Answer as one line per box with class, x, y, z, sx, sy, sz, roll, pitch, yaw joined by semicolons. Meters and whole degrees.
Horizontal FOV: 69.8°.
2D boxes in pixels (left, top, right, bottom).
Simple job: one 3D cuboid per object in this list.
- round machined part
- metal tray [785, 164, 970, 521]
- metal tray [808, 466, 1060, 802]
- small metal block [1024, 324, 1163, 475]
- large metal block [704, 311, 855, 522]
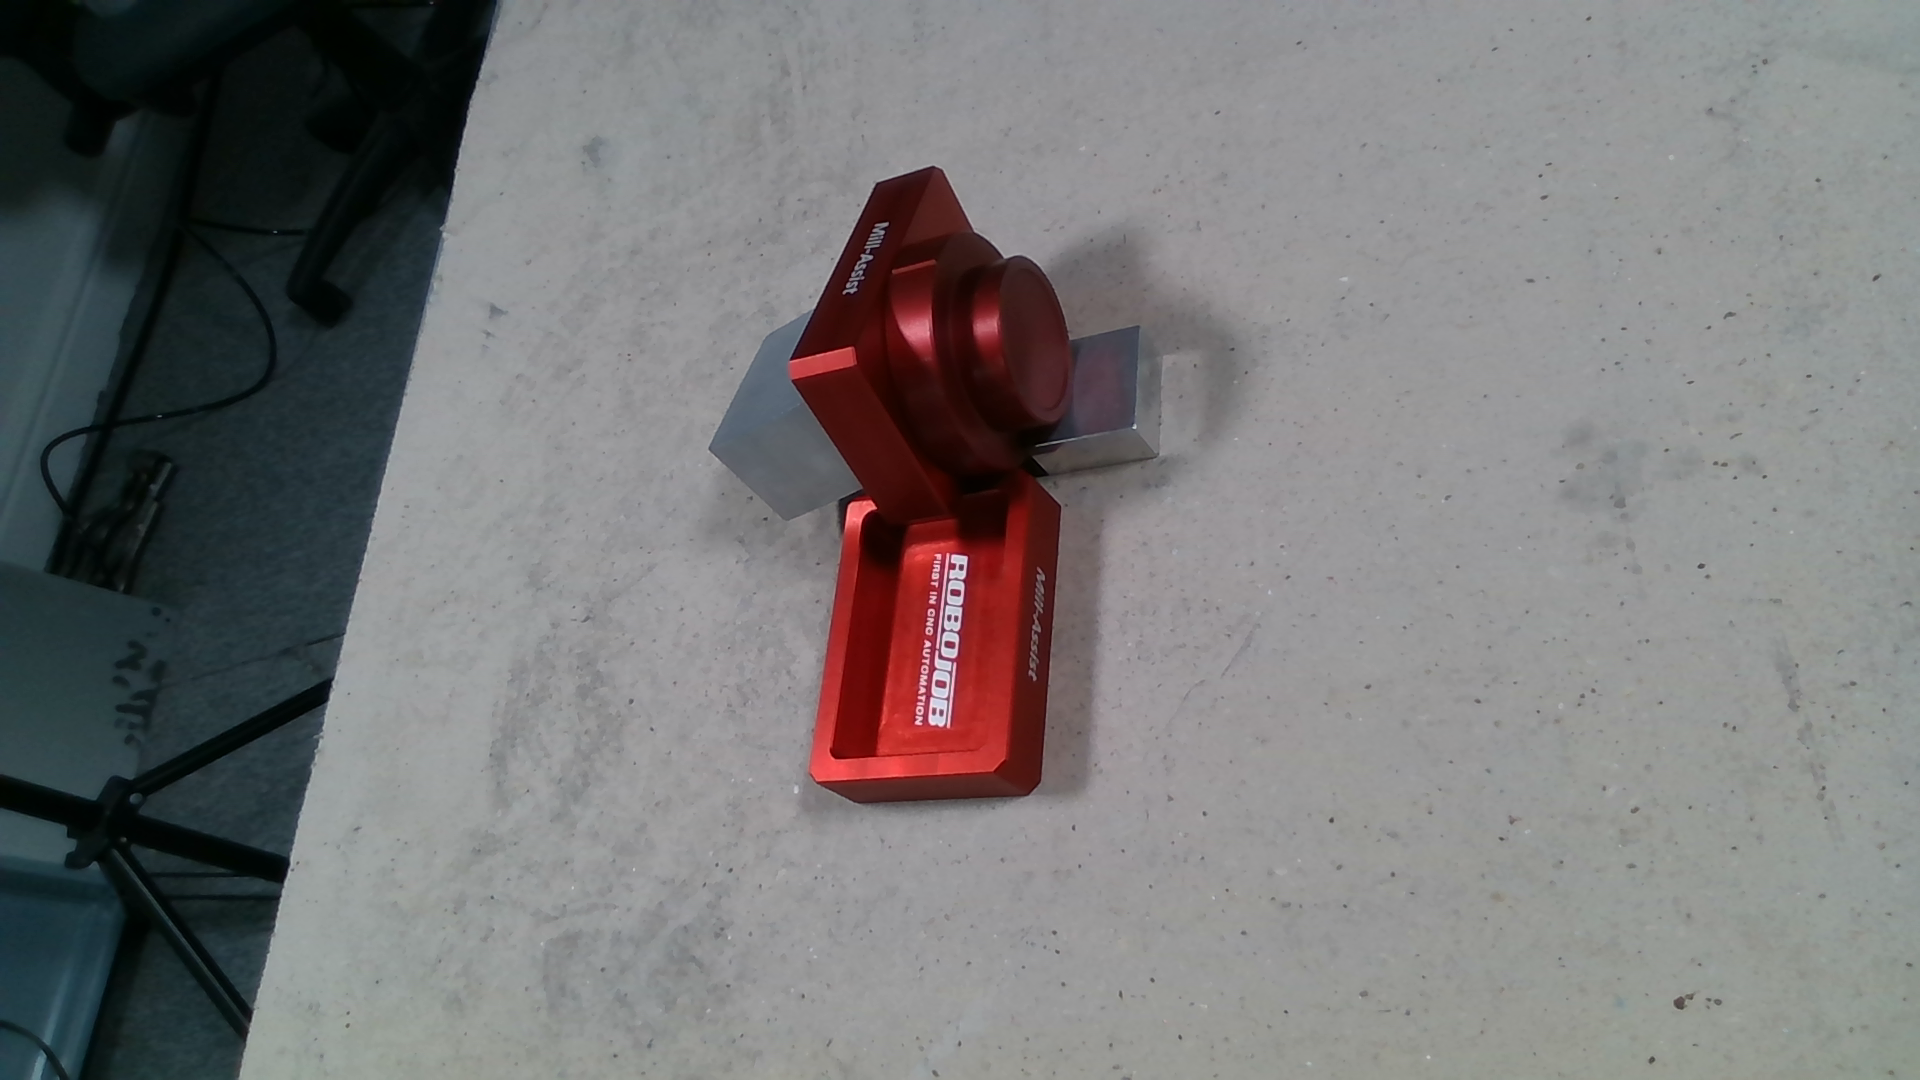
round machined part;0.012;-0.078;0.559;0.042;0.098;0.098;-8;61;28
metal tray;-0.020;-0.084;0.578;0.030;0.090;0.130;-8;43;29
metal tray;-0.009;0.039;0.567;0.090;0.030;0.130;-8;62;28
small metal block;0.057;-0.059;0.583;0.050;0.025;0.050;-8;62;28
large metal block;-0.057;-0.064;0.614;0.080;0.050;0.080;-20;37;36
